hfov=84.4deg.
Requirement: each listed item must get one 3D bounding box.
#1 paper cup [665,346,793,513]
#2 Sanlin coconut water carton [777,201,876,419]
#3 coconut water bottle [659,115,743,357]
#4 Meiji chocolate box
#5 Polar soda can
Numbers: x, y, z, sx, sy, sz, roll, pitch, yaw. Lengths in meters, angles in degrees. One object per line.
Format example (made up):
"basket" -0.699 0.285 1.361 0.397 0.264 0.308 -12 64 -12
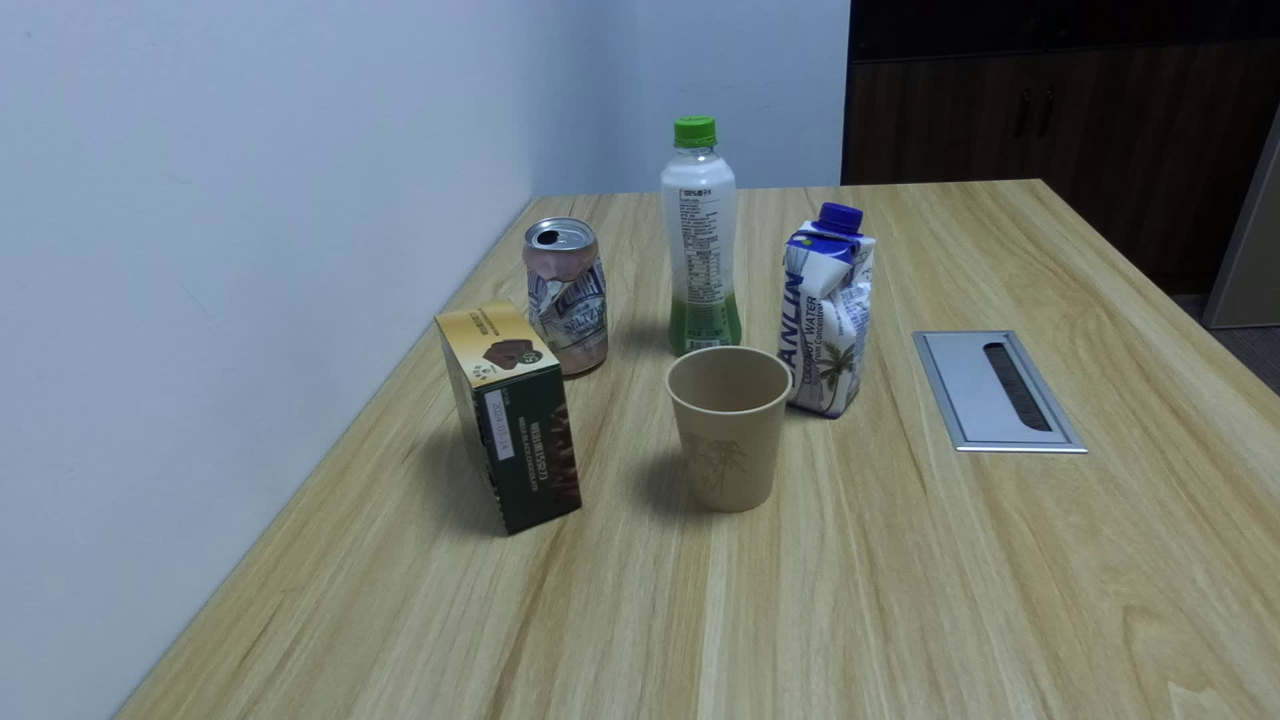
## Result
"paper cup" 0.055 0.045 0.433 0.075 0.082 0.075 -4 32 3
"Sanlin coconut water carton" 0.130 -0.034 0.496 0.060 0.144 0.070 16 35 31
"coconut water bottle" 0.049 -0.095 0.566 0.063 0.189 0.063 -4 28 2
"Meiji chocolate box" -0.086 0.033 0.460 0.056 0.109 0.109 -17 32 -19
"Polar soda can" -0.060 -0.047 0.581 0.066 0.122 0.071 -2 30 -4
